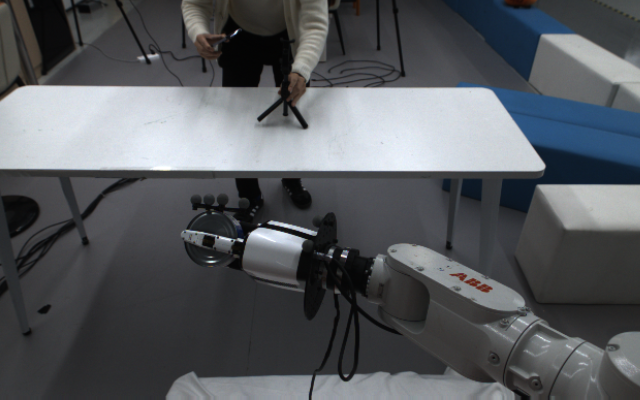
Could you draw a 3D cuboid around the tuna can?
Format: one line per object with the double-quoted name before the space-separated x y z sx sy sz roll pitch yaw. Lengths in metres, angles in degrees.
"tuna can" -0.161 0.060 0.739 0.085 0.085 0.034 12 -6 14
